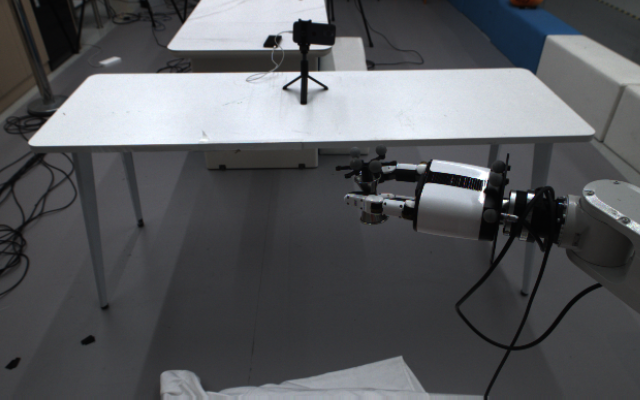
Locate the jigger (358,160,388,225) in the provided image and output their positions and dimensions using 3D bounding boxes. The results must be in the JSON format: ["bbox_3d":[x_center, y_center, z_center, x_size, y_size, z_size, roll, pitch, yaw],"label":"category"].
[{"bbox_3d":[0.077,-0.006,0.720,0.043,0.071,0.043,-11,23,5],"label":"jigger"}]
